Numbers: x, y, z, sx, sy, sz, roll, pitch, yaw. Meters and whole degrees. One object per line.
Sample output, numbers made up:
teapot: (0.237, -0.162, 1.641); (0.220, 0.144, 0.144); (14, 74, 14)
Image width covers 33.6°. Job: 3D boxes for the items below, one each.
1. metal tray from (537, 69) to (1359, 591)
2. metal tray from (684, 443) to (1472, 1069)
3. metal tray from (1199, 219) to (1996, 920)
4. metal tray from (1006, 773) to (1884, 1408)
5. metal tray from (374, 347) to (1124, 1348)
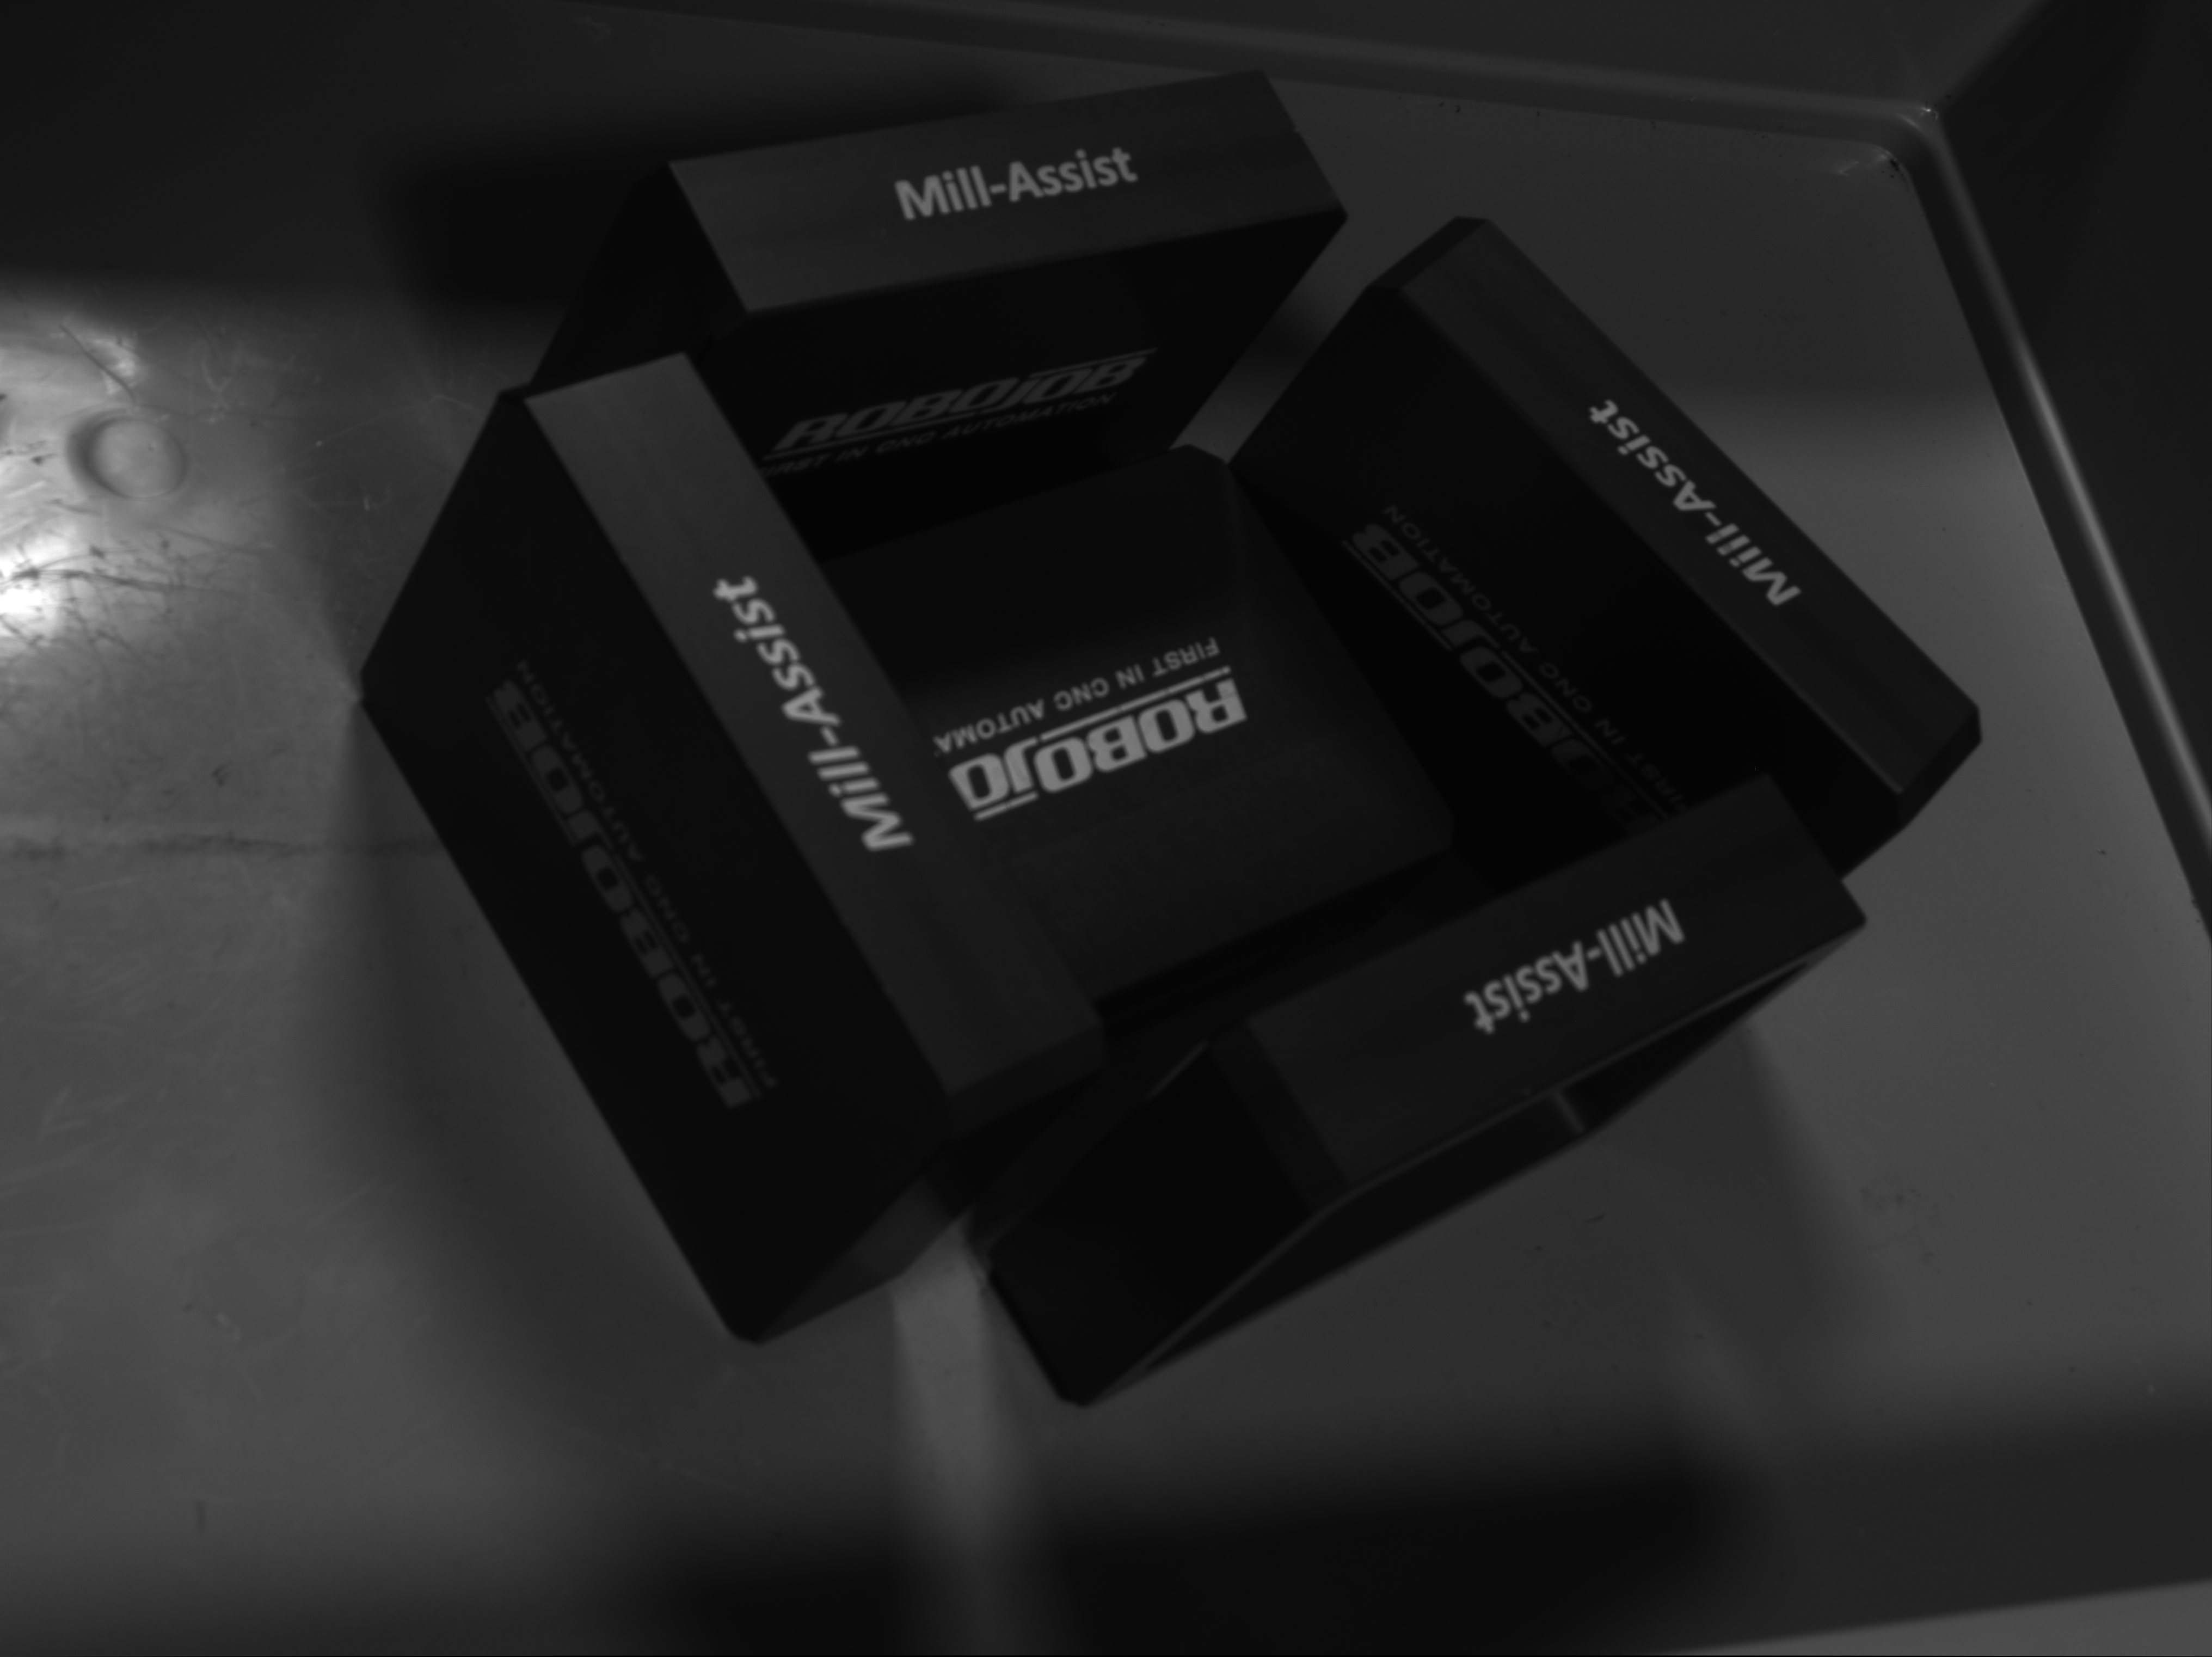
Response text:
metal tray: (-0.030, -0.084, 0.631); (0.130, 0.090, 0.030); (-17, 70, -35)
metal tray: (-0.010, -0.009, 0.634); (0.130, 0.030, 0.090); (-22, 73, -36)
metal tray: (0.085, -0.035, 0.664); (0.130, 0.090, 0.030); (46, 52, 4)
metal tray: (0.056, 0.042, 0.600); (0.130, 0.090, 0.030); (-22, 74, -36)
metal tray: (-0.059, 0.004, 0.562); (0.030, 0.090, 0.130); (-23, 74, -36)
